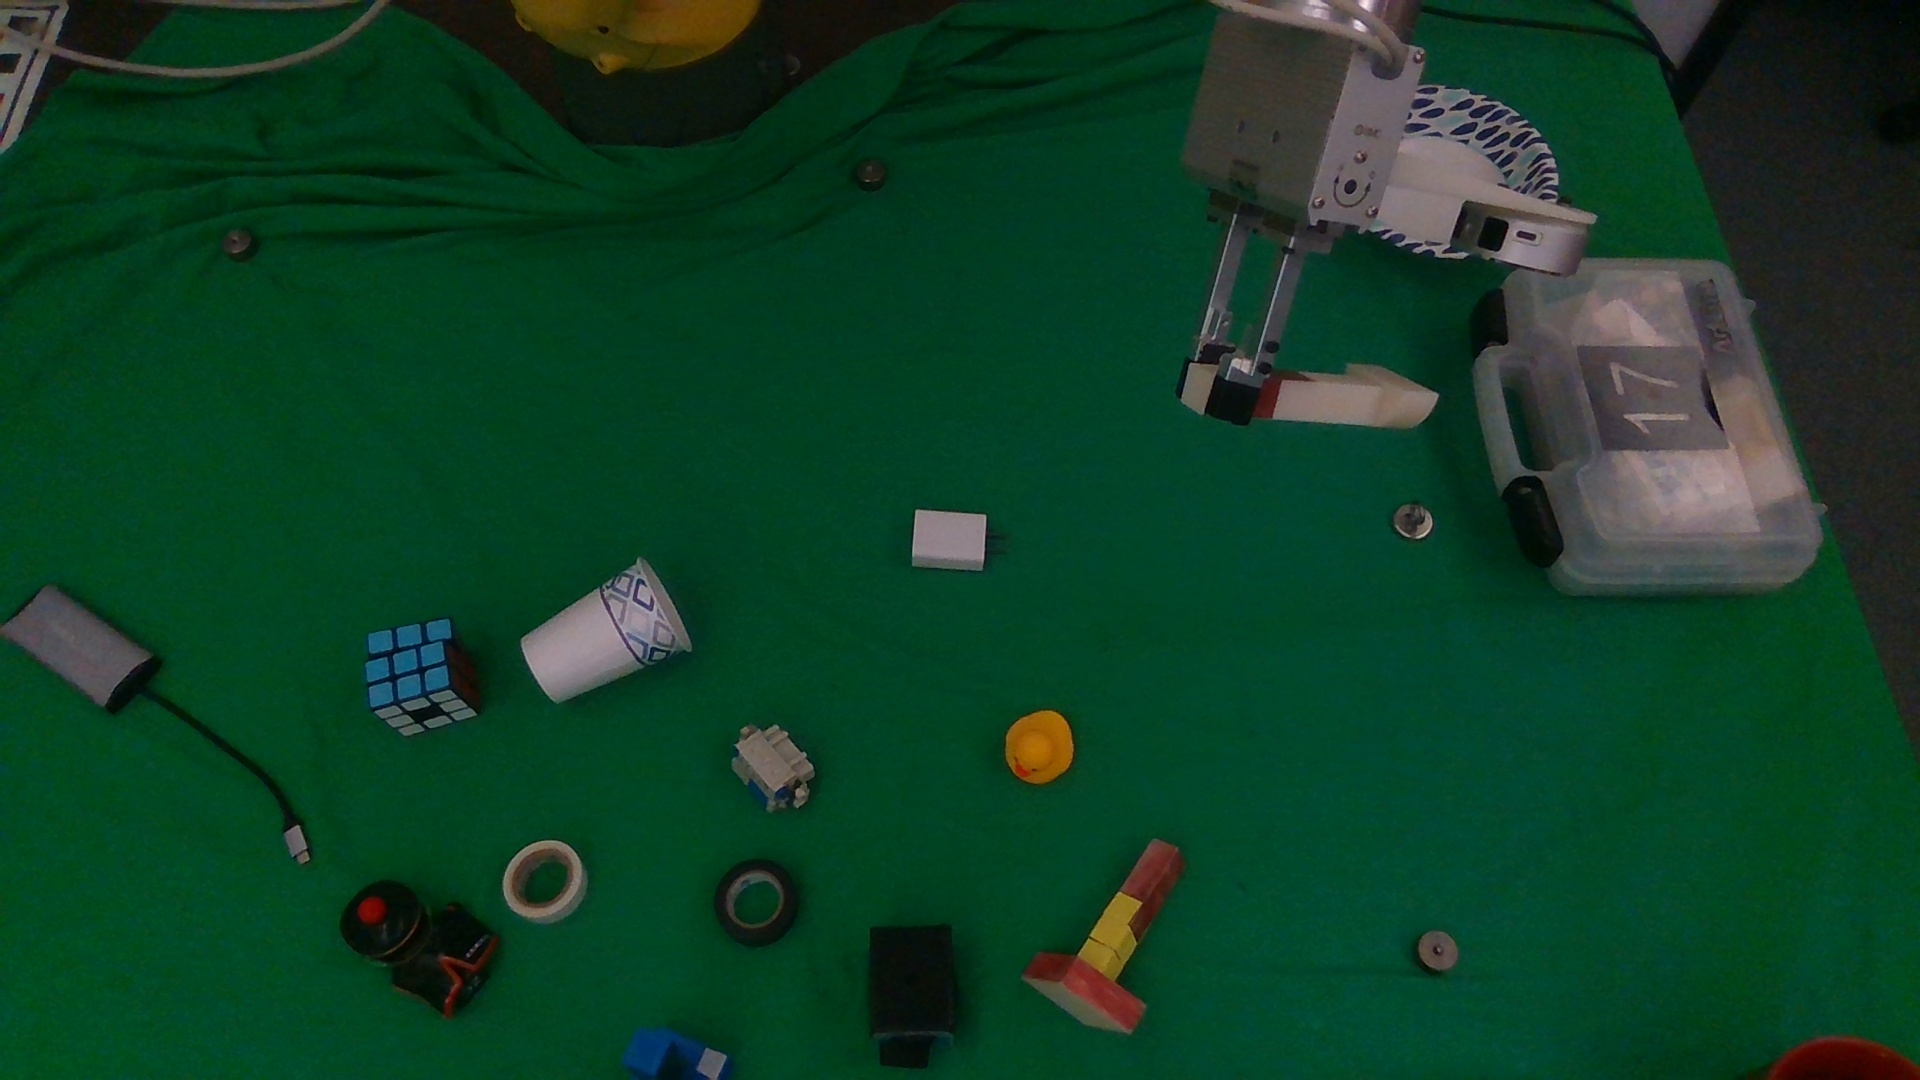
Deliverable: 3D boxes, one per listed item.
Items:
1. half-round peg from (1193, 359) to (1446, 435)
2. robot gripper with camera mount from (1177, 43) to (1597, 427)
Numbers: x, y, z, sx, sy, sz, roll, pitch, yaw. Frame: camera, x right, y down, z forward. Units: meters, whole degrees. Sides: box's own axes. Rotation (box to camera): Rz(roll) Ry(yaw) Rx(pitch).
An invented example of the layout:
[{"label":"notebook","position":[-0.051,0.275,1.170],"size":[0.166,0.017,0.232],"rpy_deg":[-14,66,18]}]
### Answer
[{"label":"half-round peg","position":[0.168,-0.071,0.668],"size":[0.121,0.031,0.054],"rpy_deg":[2,22,-22]},{"label":"robot gripper with camera mount","position":[0.206,-0.129,0.662],"size":[0.193,0.158,0.119],"rpy_deg":[5,21,-25]}]
